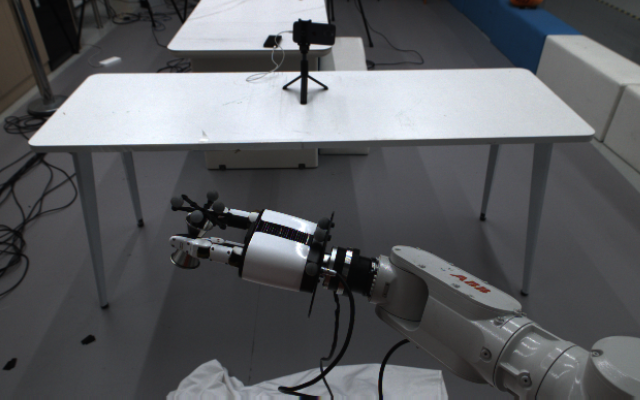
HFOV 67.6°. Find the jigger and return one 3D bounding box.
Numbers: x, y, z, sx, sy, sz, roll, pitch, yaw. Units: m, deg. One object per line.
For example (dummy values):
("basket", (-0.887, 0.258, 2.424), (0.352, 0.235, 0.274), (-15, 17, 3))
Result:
("jigger", (-0.185, 0.060, 0.696), (0.043, 0.071, 0.043), (22, 20, -9))
